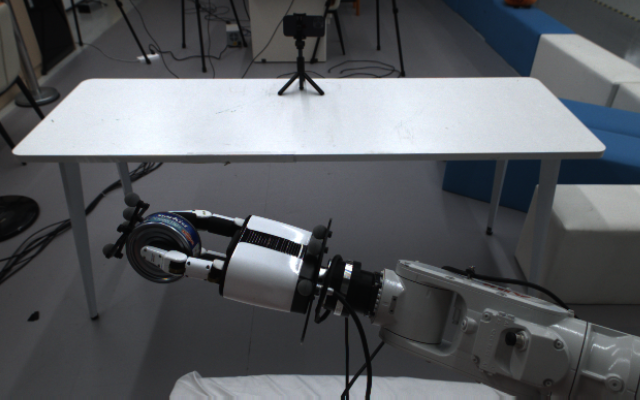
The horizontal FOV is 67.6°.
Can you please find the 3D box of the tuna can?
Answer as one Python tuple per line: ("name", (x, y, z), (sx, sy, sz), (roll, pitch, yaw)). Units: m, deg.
("tuna can", (-0.190, 0.064, 0.597), (0.085, 0.085, 0.034), (4, 22, 2))
